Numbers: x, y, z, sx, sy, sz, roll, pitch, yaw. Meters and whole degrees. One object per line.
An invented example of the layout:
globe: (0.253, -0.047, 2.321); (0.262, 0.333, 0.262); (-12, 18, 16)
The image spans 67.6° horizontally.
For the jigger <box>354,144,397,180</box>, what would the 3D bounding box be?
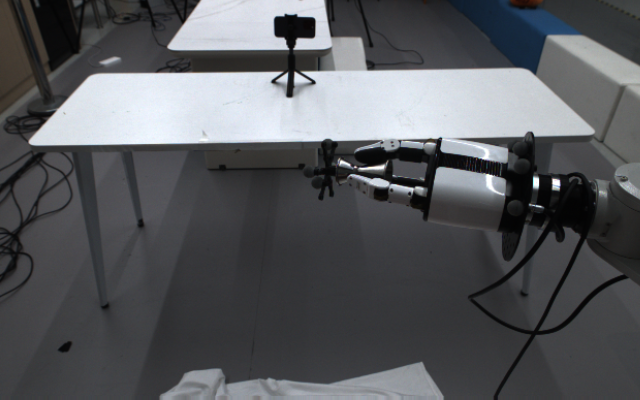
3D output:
jigger: (0.066, -0.042, 0.644); (0.071, 0.043, 0.043); (5, 34, 21)
